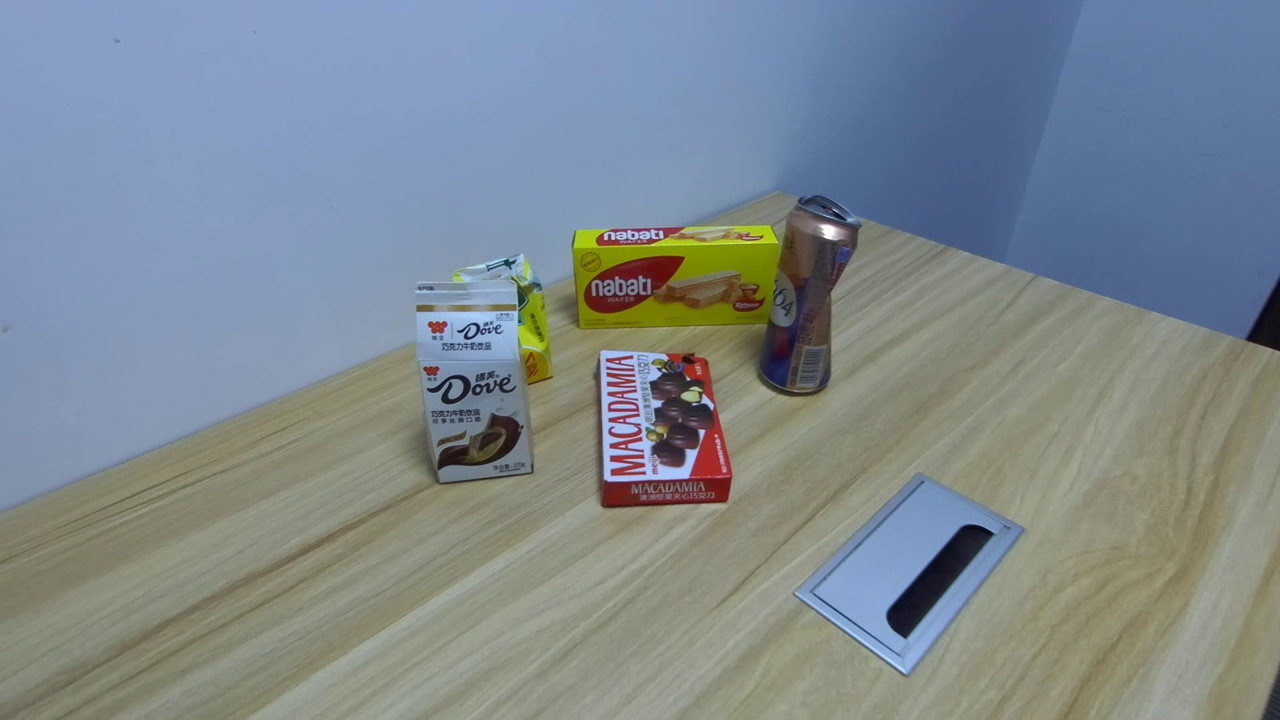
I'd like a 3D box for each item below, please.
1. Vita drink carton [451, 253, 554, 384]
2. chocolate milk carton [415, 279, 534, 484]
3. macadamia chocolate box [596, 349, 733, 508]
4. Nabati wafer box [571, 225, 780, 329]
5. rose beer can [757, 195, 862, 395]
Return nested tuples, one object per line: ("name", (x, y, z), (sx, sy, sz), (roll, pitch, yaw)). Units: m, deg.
("Vita drink carton", (-0.119, -0.030, 0.627), (0.071, 0.110, 0.046), (-17, 34, -21))
("chocolate milk carton", (-0.127, 0.009, 0.532), (0.084, 0.155, 0.073), (-6, 34, -5))
("macadamia chocolate box", (0.016, 0.046, 0.589), (0.103, 0.027, 0.186), (-1, 34, -4))
("Nabati wafer box", (0.036, -0.082, 0.714), (0.203, 0.093, 0.042), (-2, 33, -1))
("rose beer can", (0.145, -0.052, 0.607), (0.069, 0.168, 0.070), (28, 37, 34))
